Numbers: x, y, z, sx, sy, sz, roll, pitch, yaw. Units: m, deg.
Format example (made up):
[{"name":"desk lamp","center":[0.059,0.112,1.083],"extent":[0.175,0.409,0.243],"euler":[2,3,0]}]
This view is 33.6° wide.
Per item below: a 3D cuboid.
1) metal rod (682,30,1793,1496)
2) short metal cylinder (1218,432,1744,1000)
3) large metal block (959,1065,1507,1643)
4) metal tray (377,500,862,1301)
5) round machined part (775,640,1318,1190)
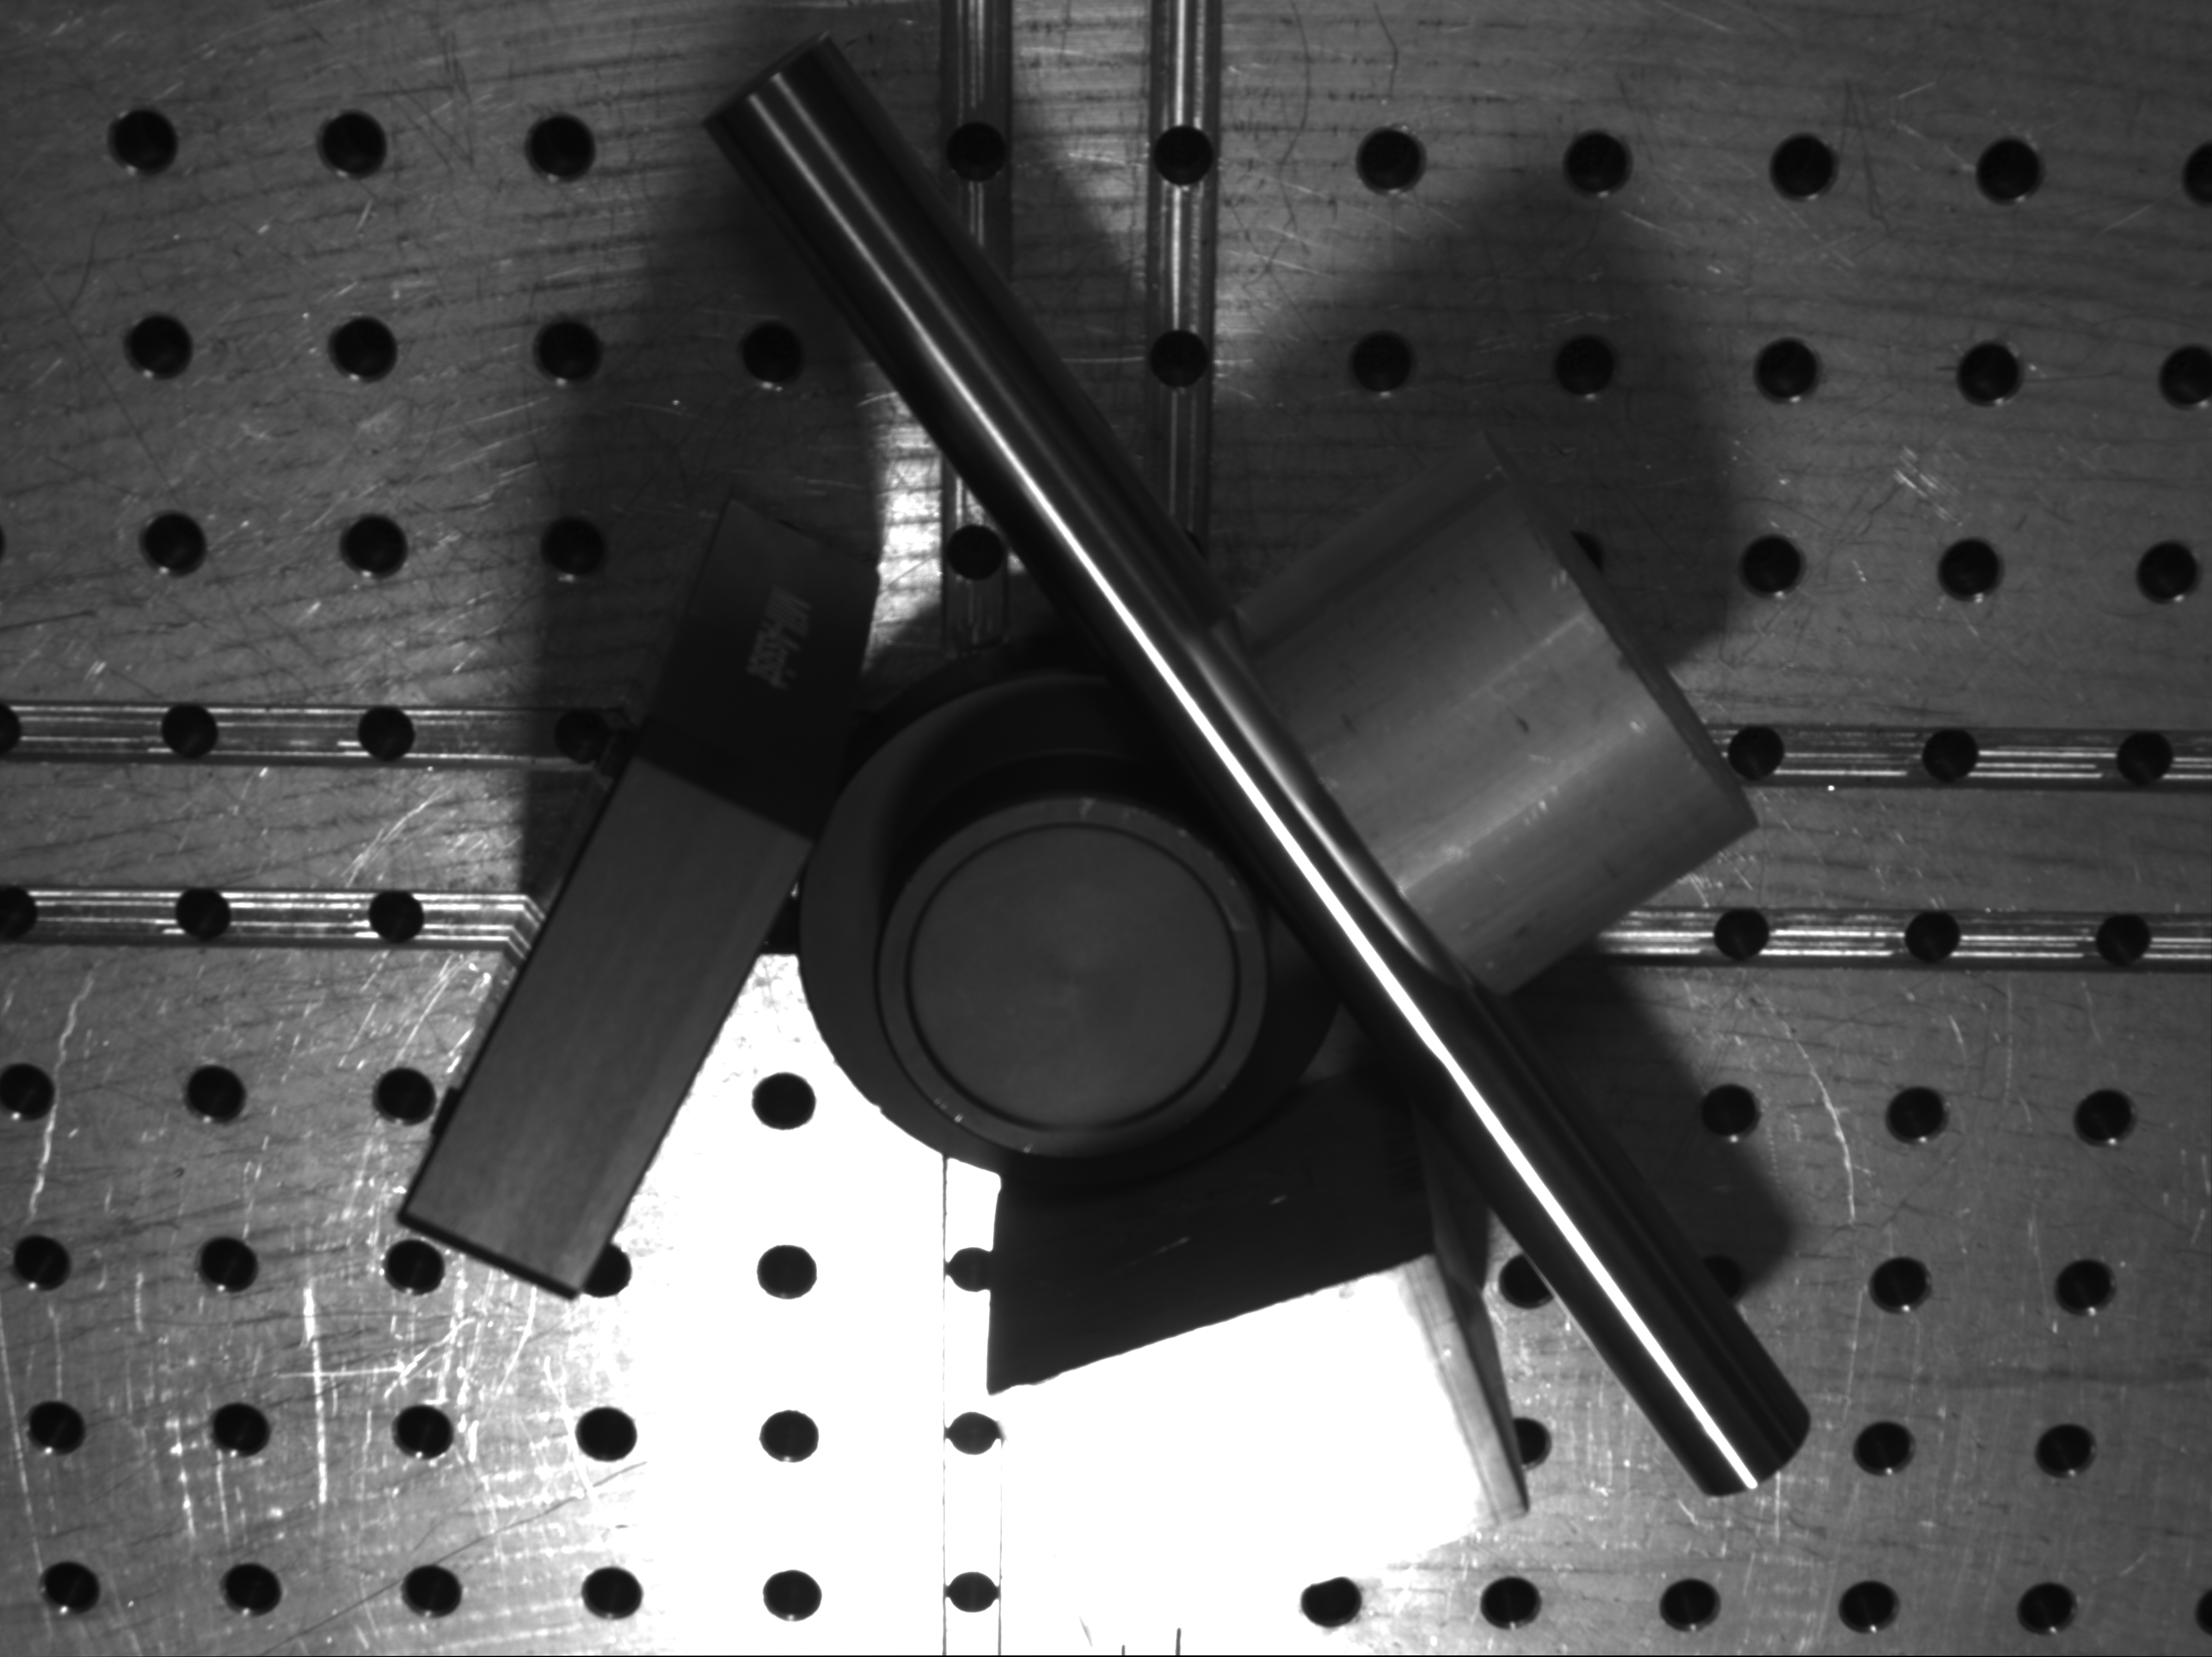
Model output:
[{"name":"metal rod","center":[0.028,-0.003,0.622],"extent":[0.025,0.025,0.300],"euler":[-33,107,11]},{"name":"short metal cylinder","center":[0.062,-0.019,0.609],"extent":[0.050,0.080,0.080],"euler":[-35,107,11]},{"name":"large metal block","center":[0.021,0.091,0.650],"extent":[0.080,0.080,0.050],"euler":[-18,109,6]},{"name":"metal tray","center":[-0.076,0.007,0.592],"extent":[0.030,0.130,0.090],"euler":[26,108,-9]},{"name":"round machined part","center":[-0.009,0.020,0.643],"extent":[0.098,0.042,0.098],"euler":[0,110,-1]}]
